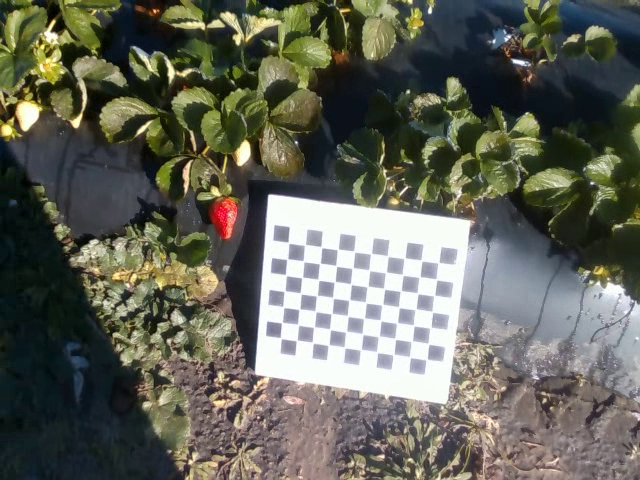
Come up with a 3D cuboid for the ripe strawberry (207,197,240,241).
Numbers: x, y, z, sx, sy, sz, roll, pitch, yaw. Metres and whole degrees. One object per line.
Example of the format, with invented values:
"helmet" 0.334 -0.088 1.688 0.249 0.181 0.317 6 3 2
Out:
"ripe strawberry" -0.133 -0.029 0.795 0.048 0.068 0.040 -10 2 8
